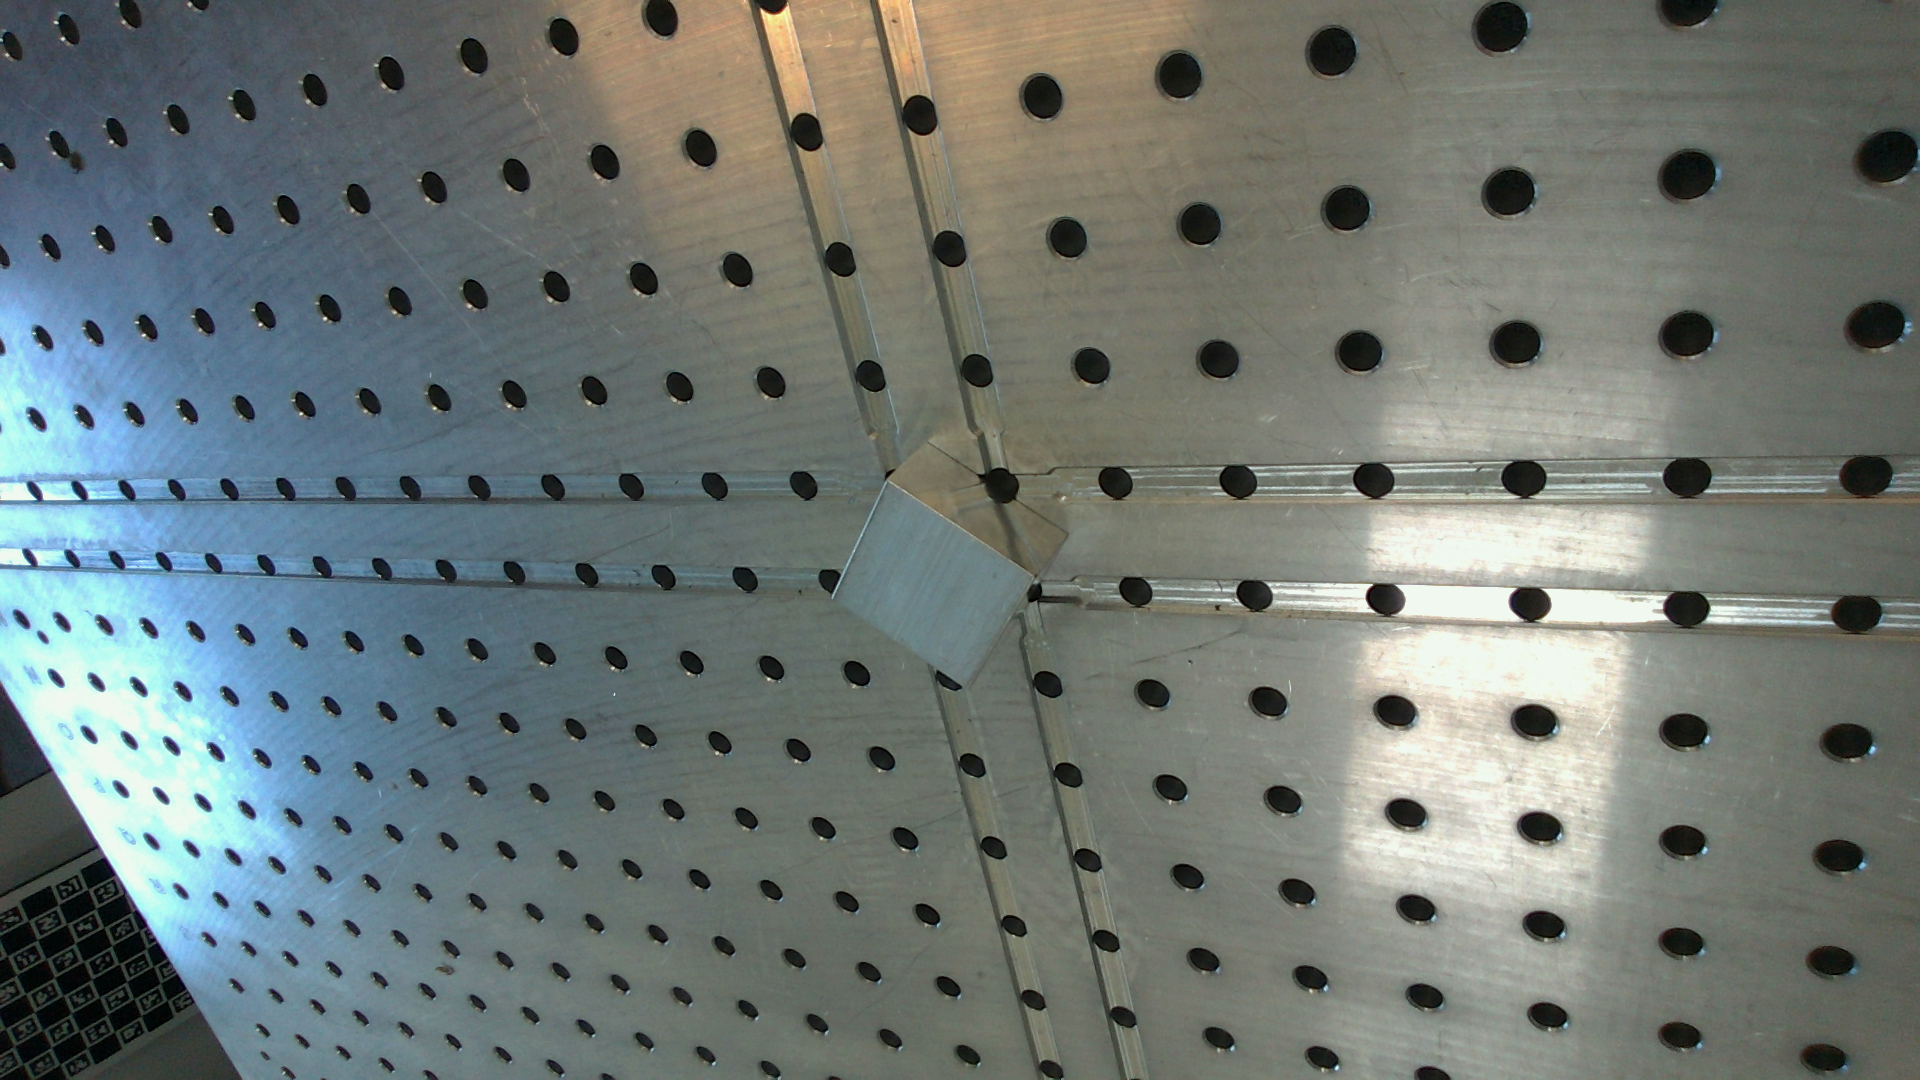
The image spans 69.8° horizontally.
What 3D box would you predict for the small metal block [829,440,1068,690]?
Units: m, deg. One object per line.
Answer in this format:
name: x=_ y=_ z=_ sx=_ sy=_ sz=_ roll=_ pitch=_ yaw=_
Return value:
small metal block: x=-0.004 y=0.008 z=0.403 sx=0.050 sy=0.025 sz=0.050 roll=33 pitch=129 yaw=6
